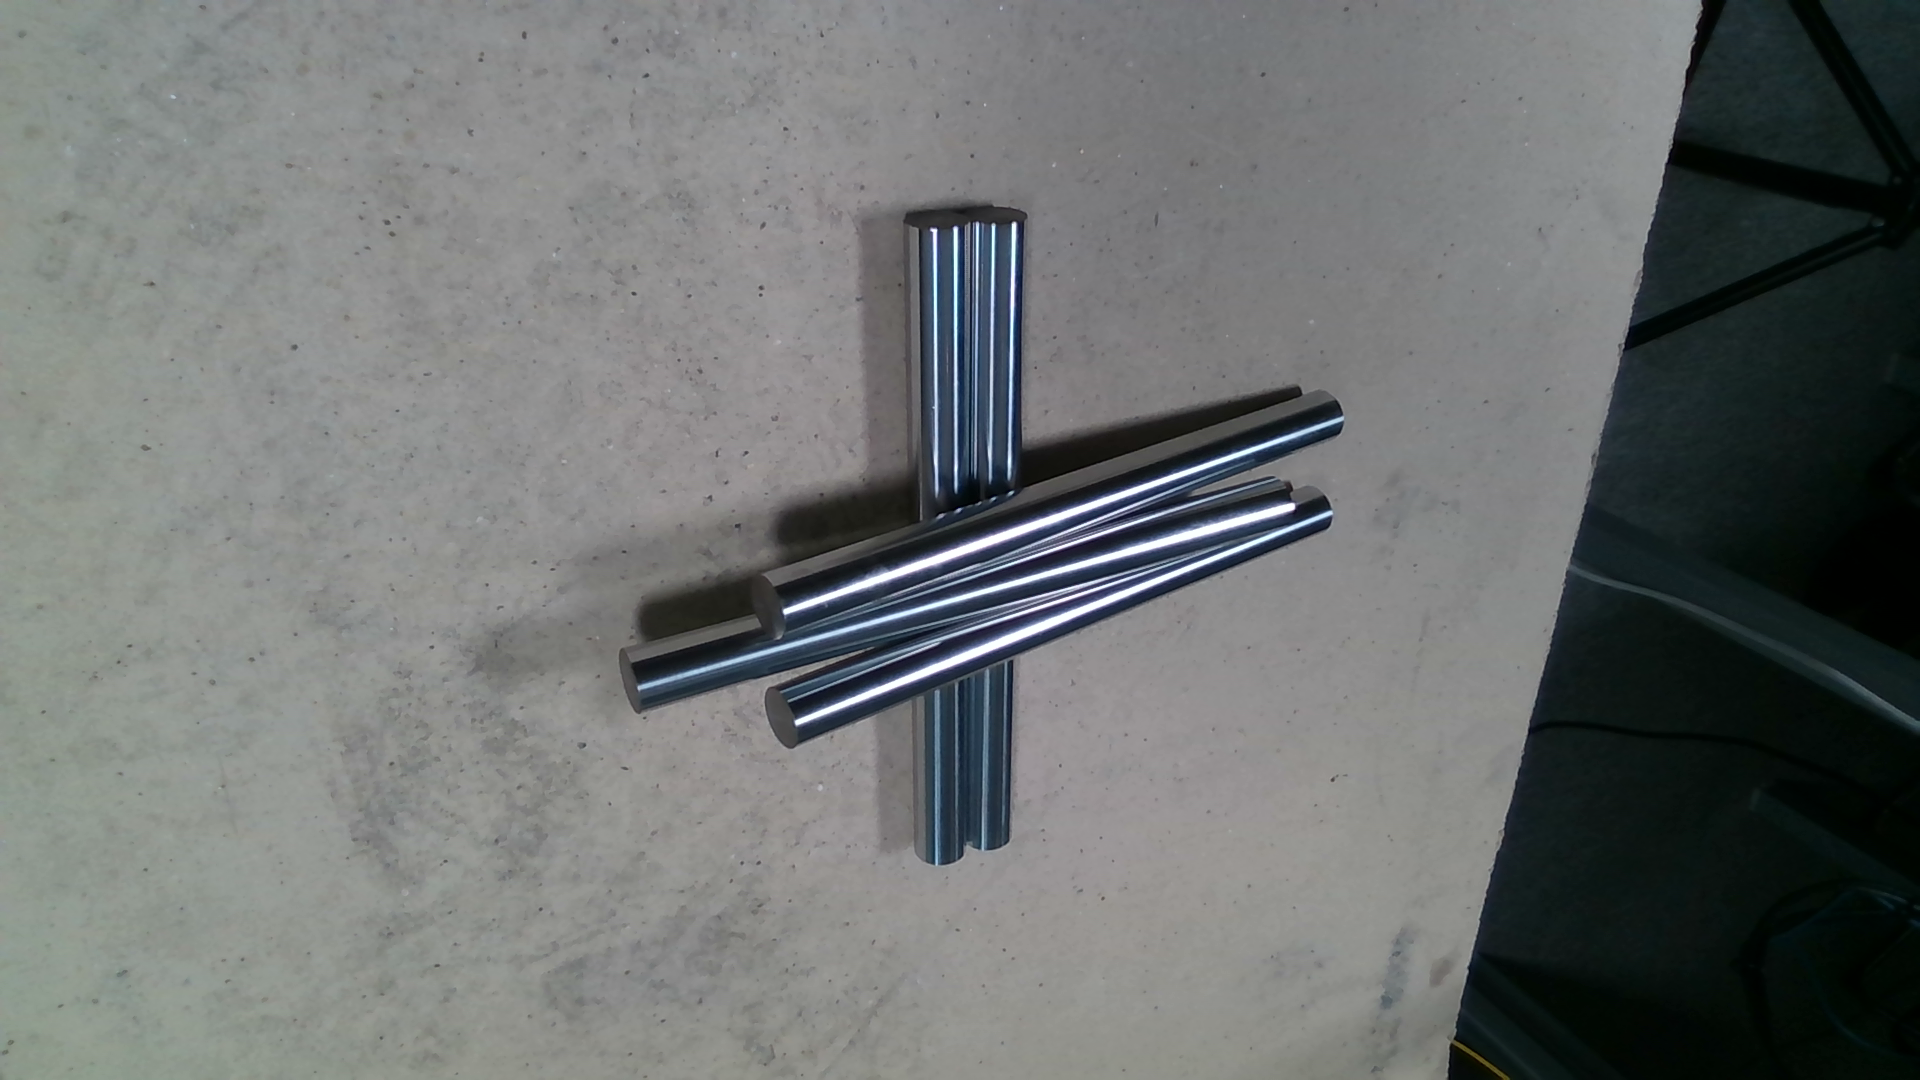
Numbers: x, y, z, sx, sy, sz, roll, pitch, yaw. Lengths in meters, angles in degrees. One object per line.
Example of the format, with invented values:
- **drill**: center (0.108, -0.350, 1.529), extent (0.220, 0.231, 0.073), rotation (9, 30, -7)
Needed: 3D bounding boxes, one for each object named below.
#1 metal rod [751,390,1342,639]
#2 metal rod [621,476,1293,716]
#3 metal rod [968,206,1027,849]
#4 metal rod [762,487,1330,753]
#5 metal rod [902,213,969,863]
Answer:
- **metal rod**: center (0.051, -0.017, 0.576), extent (0.300, 0.025, 0.025), rotation (-19, 124, -32)
- **metal rod**: center (0.012, 0.017, 0.565), extent (0.300, 0.025, 0.025), rotation (-15, 122, -25)
- **metal rod**: center (0.012, 0.009, 0.594), extent (0.025, 0.025, 0.301), rotation (-14, 122, -25)
- **metal rod**: center (0.052, 0.028, 0.600), extent (0.300, 0.025, 0.025), rotation (-19, 124, -32)
- **metal rod**: center (-0.010, 0.013, 0.583), extent (0.025, 0.025, 0.301), rotation (-14, 122, -25)
